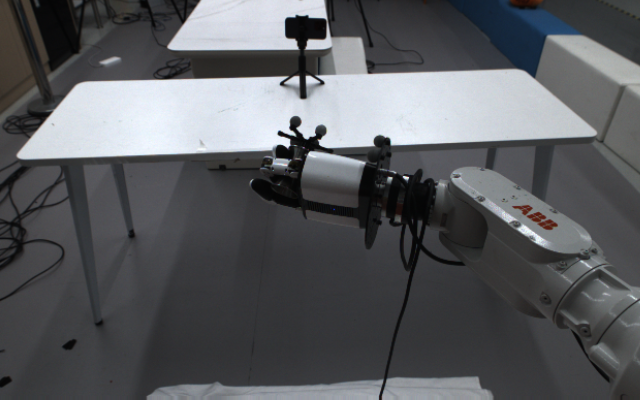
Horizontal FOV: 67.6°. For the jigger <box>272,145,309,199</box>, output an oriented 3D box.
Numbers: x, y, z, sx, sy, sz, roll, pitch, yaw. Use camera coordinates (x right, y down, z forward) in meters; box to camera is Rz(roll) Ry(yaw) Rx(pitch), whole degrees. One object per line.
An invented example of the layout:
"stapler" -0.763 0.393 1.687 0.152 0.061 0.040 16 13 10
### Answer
"jigger" -0.039 -0.044 0.712 0.043 0.043 0.071 15 71 18
